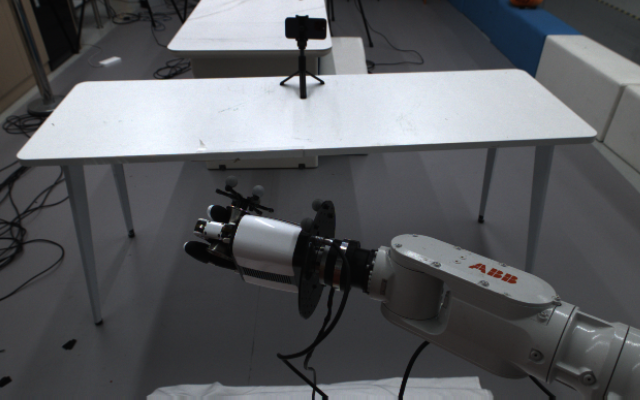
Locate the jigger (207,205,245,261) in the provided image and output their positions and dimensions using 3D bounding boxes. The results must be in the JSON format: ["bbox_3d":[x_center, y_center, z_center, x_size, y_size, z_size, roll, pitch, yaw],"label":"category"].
[{"bbox_3d":[-0.124,0.046,0.675,0.043,0.043,0.071,15,71,18],"label":"jigger"}]
